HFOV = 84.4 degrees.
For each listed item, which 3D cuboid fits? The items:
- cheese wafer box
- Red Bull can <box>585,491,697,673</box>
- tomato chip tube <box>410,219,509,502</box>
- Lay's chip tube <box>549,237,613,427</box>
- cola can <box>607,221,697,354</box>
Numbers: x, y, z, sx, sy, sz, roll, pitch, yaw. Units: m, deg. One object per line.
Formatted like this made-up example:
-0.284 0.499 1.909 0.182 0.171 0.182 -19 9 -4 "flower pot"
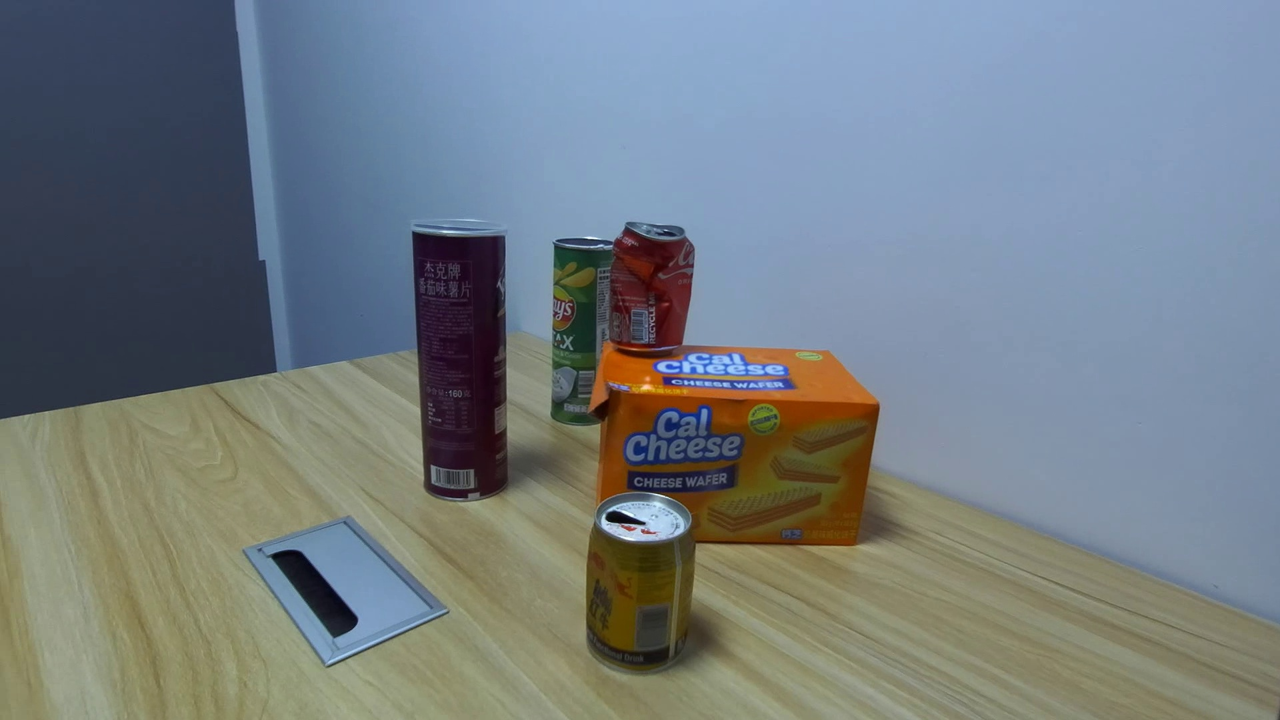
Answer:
0.071 0.065 0.619 0.227 0.137 0.149 2 18 -3 "cheese wafer box"
-0.001 0.137 0.444 0.069 0.092 0.069 3 18 -1 "Red Bull can"
-0.155 0.002 0.620 0.078 0.234 0.078 3 17 -1 "tomato chip tube"
-0.062 -0.032 0.787 0.071 0.202 0.071 3 16 -1 "Lay's chip tube"
0.007 -0.063 0.622 0.069 0.112 0.066 10 20 16 "cola can"
